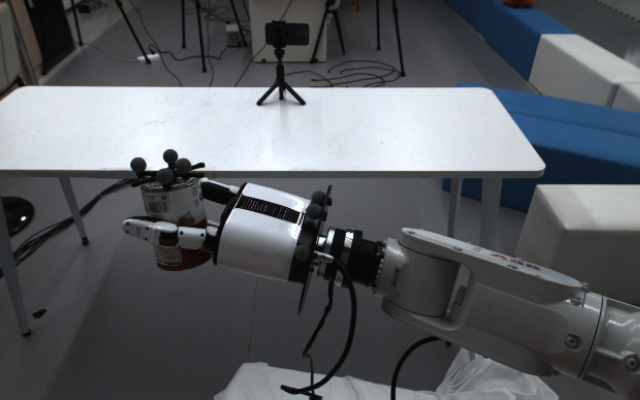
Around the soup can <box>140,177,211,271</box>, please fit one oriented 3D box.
[{"bbox_3d":[-0.166,0.024,0.569,0.067,0.101,0.067,-4,21,2],"label":"soup can"}]
